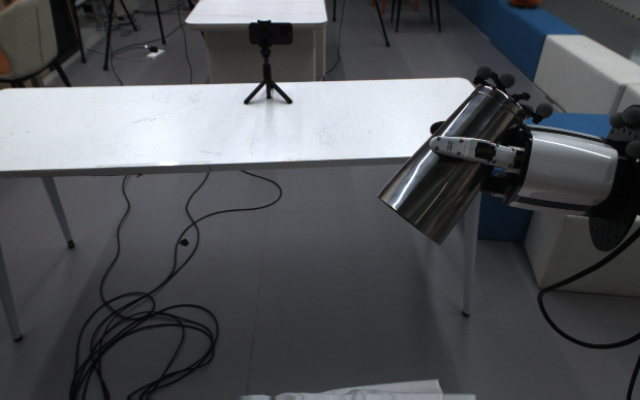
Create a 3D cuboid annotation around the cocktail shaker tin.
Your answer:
[{"bbox_3d":[0.155,-0.046,0.554,0.170,0.093,0.093,-50,46,4],"label":"cocktail shaker tin"}]
